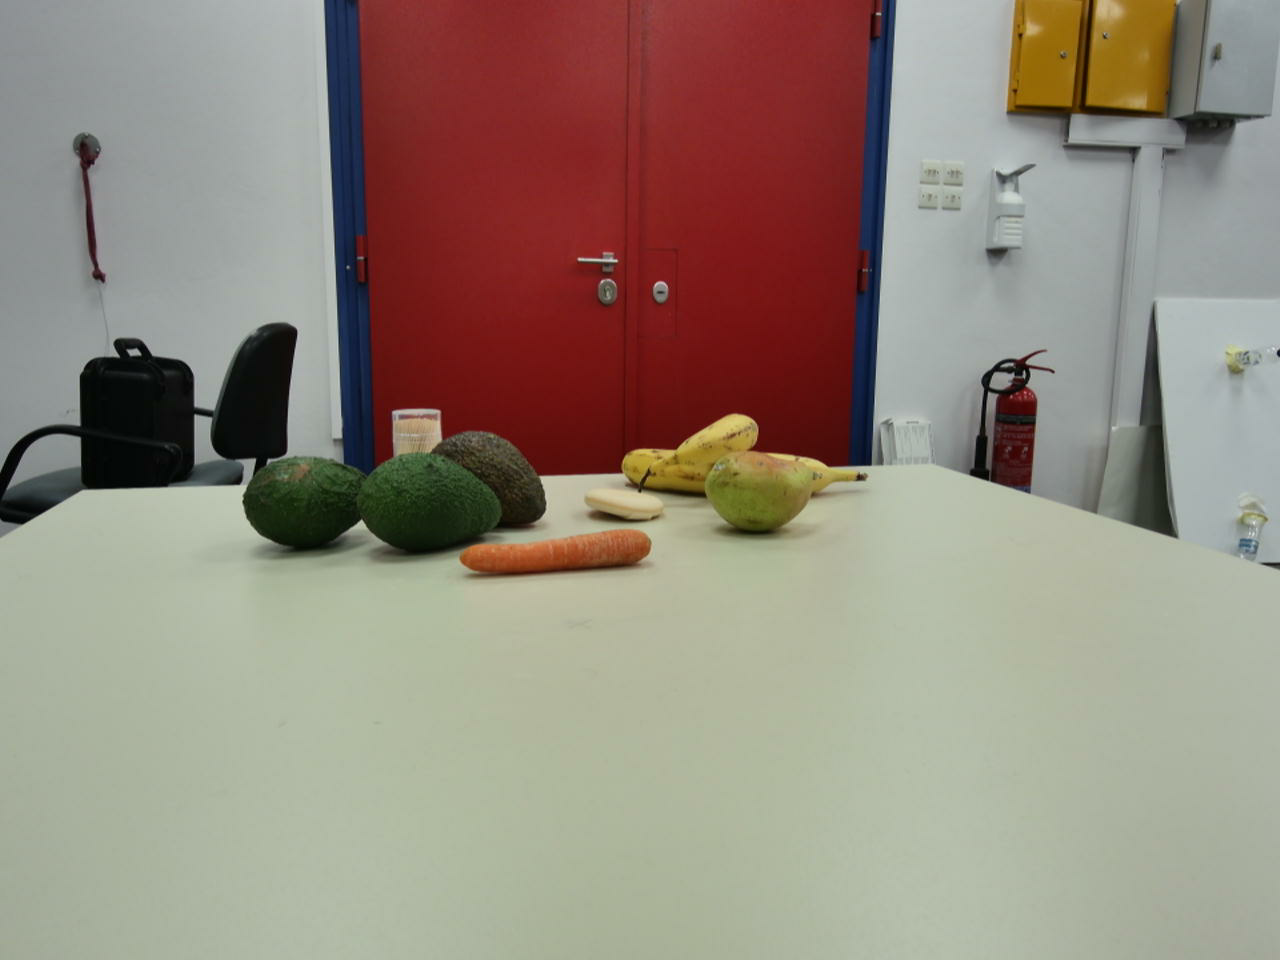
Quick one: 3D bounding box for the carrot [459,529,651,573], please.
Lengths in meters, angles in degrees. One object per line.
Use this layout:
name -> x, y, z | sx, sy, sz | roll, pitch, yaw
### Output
carrot -> -0.052, 0.045, 0.632 | 0.122, 0.023, 0.024 | -2, 8, -15
